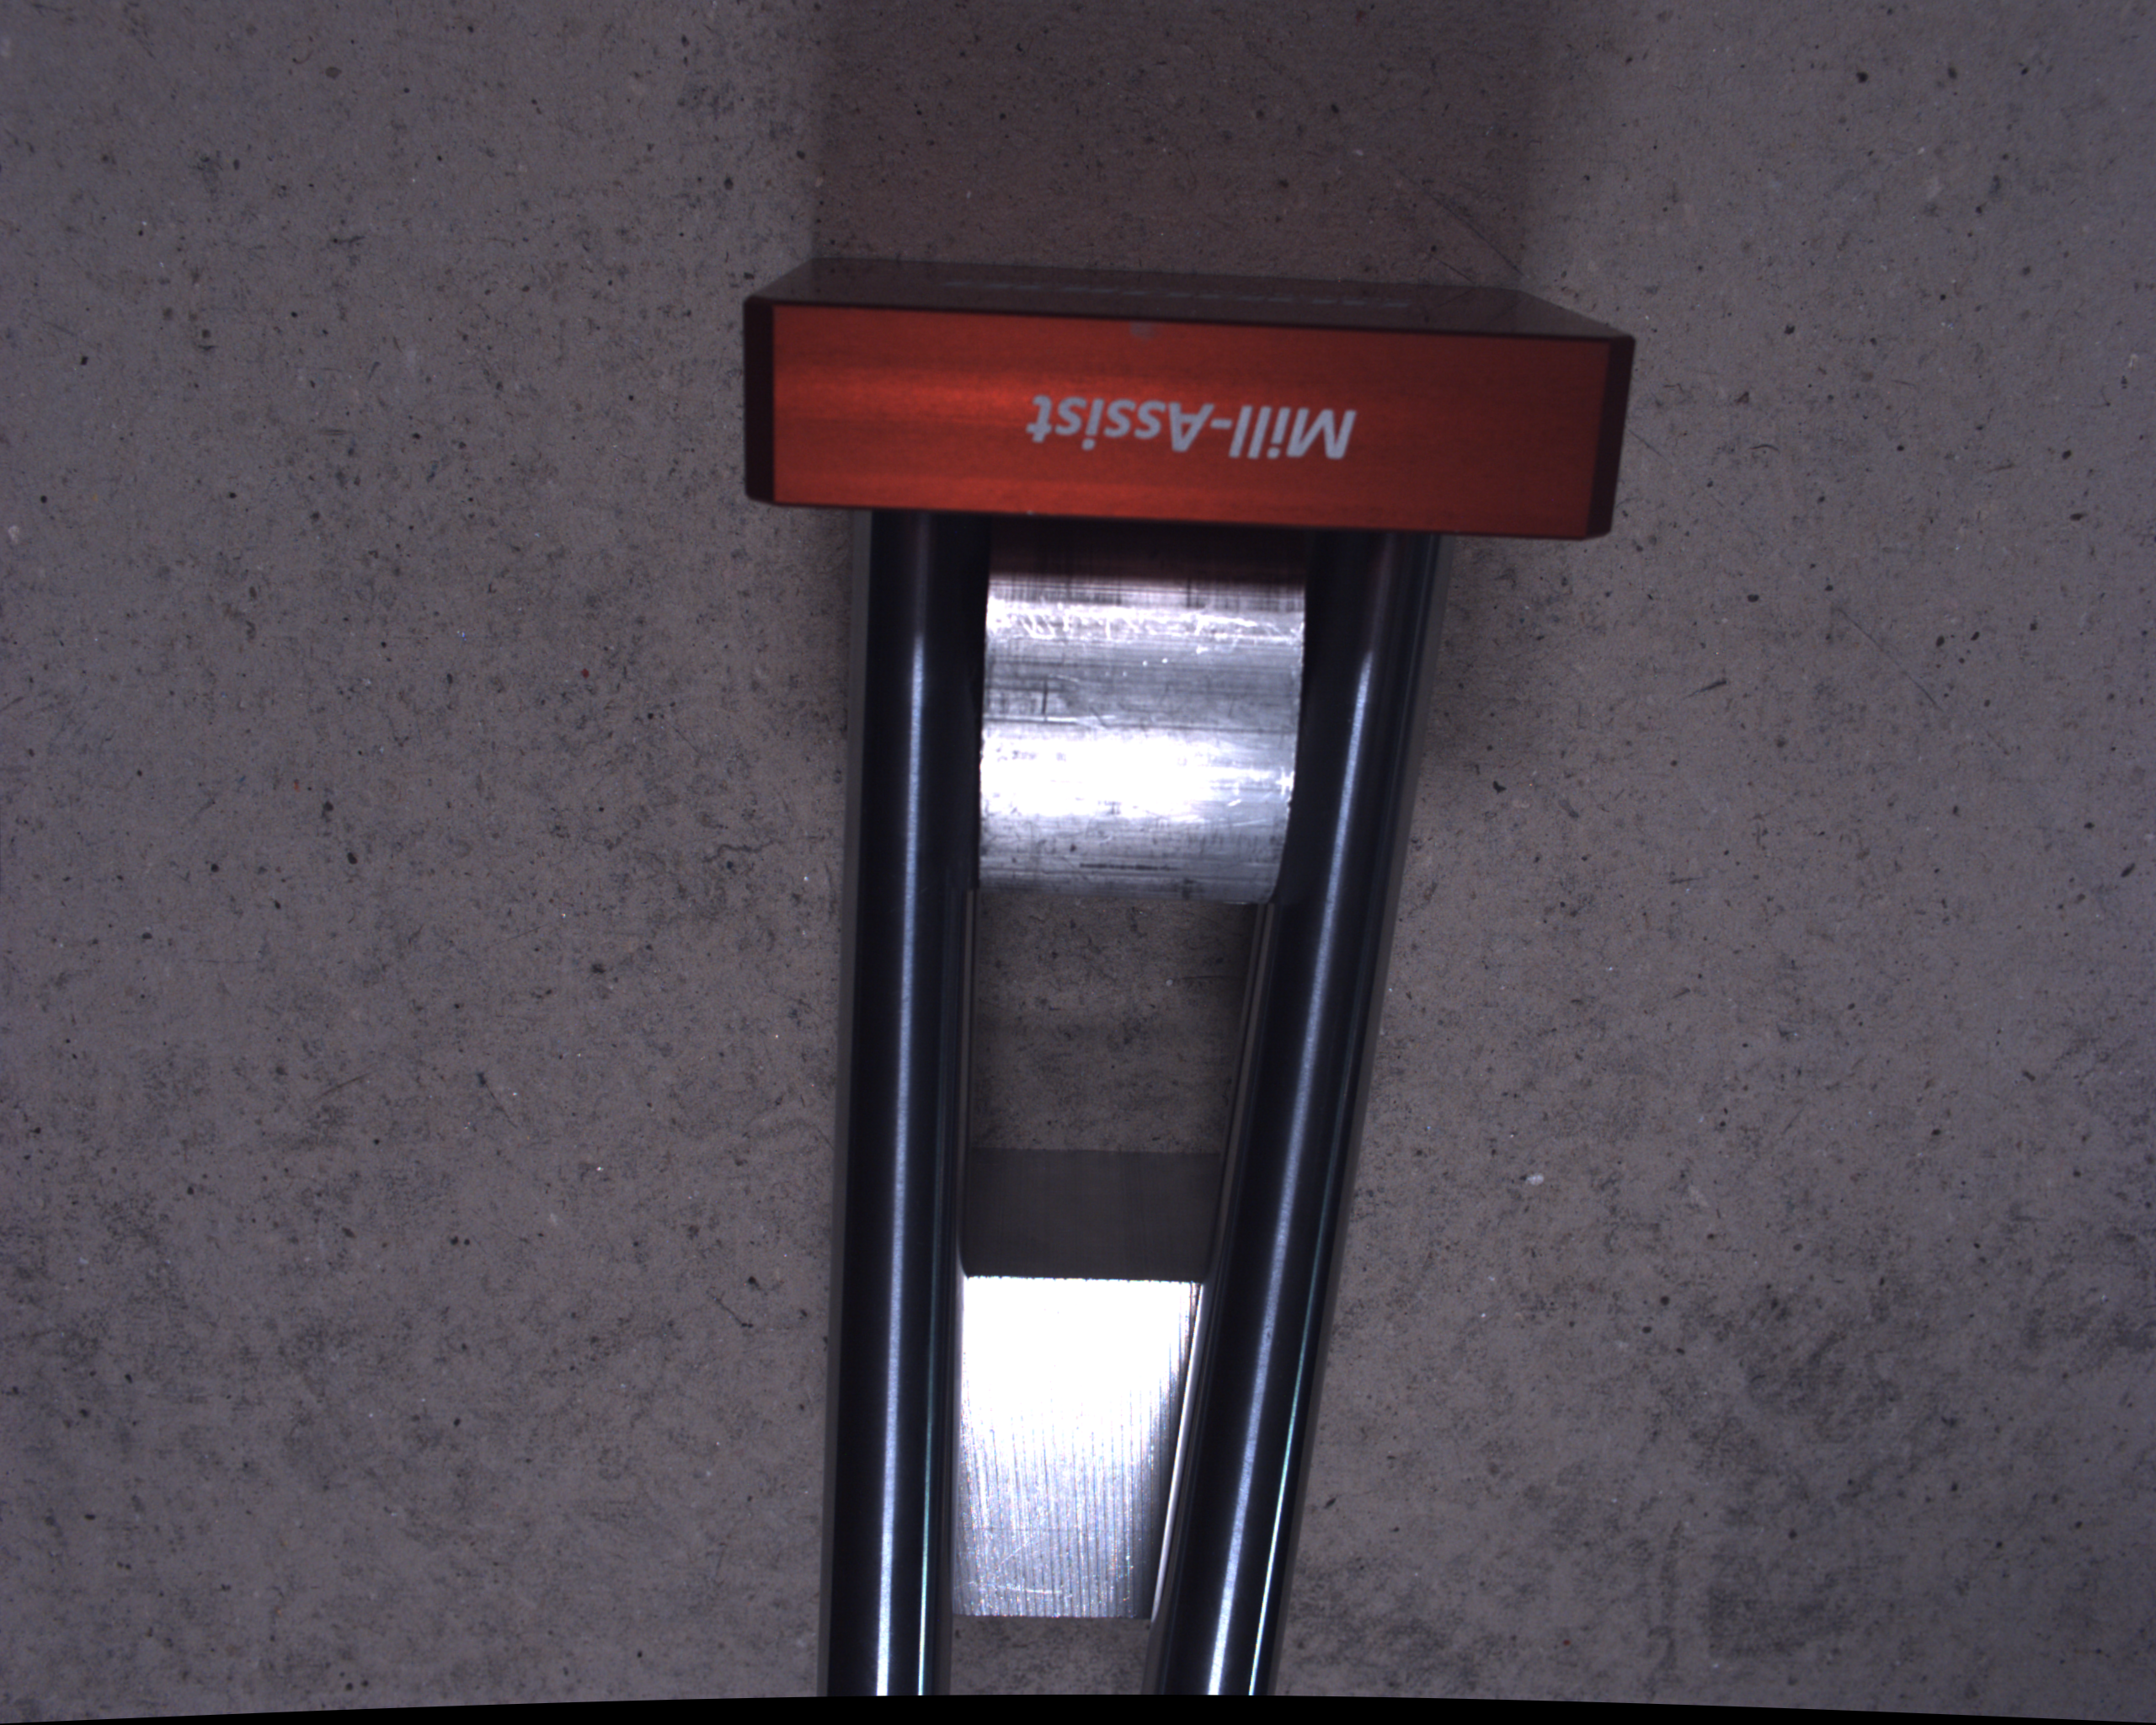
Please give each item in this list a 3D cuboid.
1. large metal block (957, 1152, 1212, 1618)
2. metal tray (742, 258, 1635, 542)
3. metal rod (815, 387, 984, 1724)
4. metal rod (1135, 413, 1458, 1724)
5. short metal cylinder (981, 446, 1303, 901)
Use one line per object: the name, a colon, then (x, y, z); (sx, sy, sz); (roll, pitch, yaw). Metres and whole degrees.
large metal block: (0.002, 0.108, 0.435); (0.081, 0.050, 0.079); (2, 110, -1)
metal tray: (0.016, -0.079, 0.347); (0.131, 0.090, 0.030); (2, 110, -1)
metal rod: (-0.033, 0.060, 0.384); (0.025, 0.025, 0.298); (2, 95, -1)
metal rod: (0.038, 0.063, 0.385); (0.025, 0.025, 0.298); (8, 95, -3)
short metal cylinder: (0.009, -0.033, 0.370); (0.050, 0.080, 0.079); (2, 110, -2)
